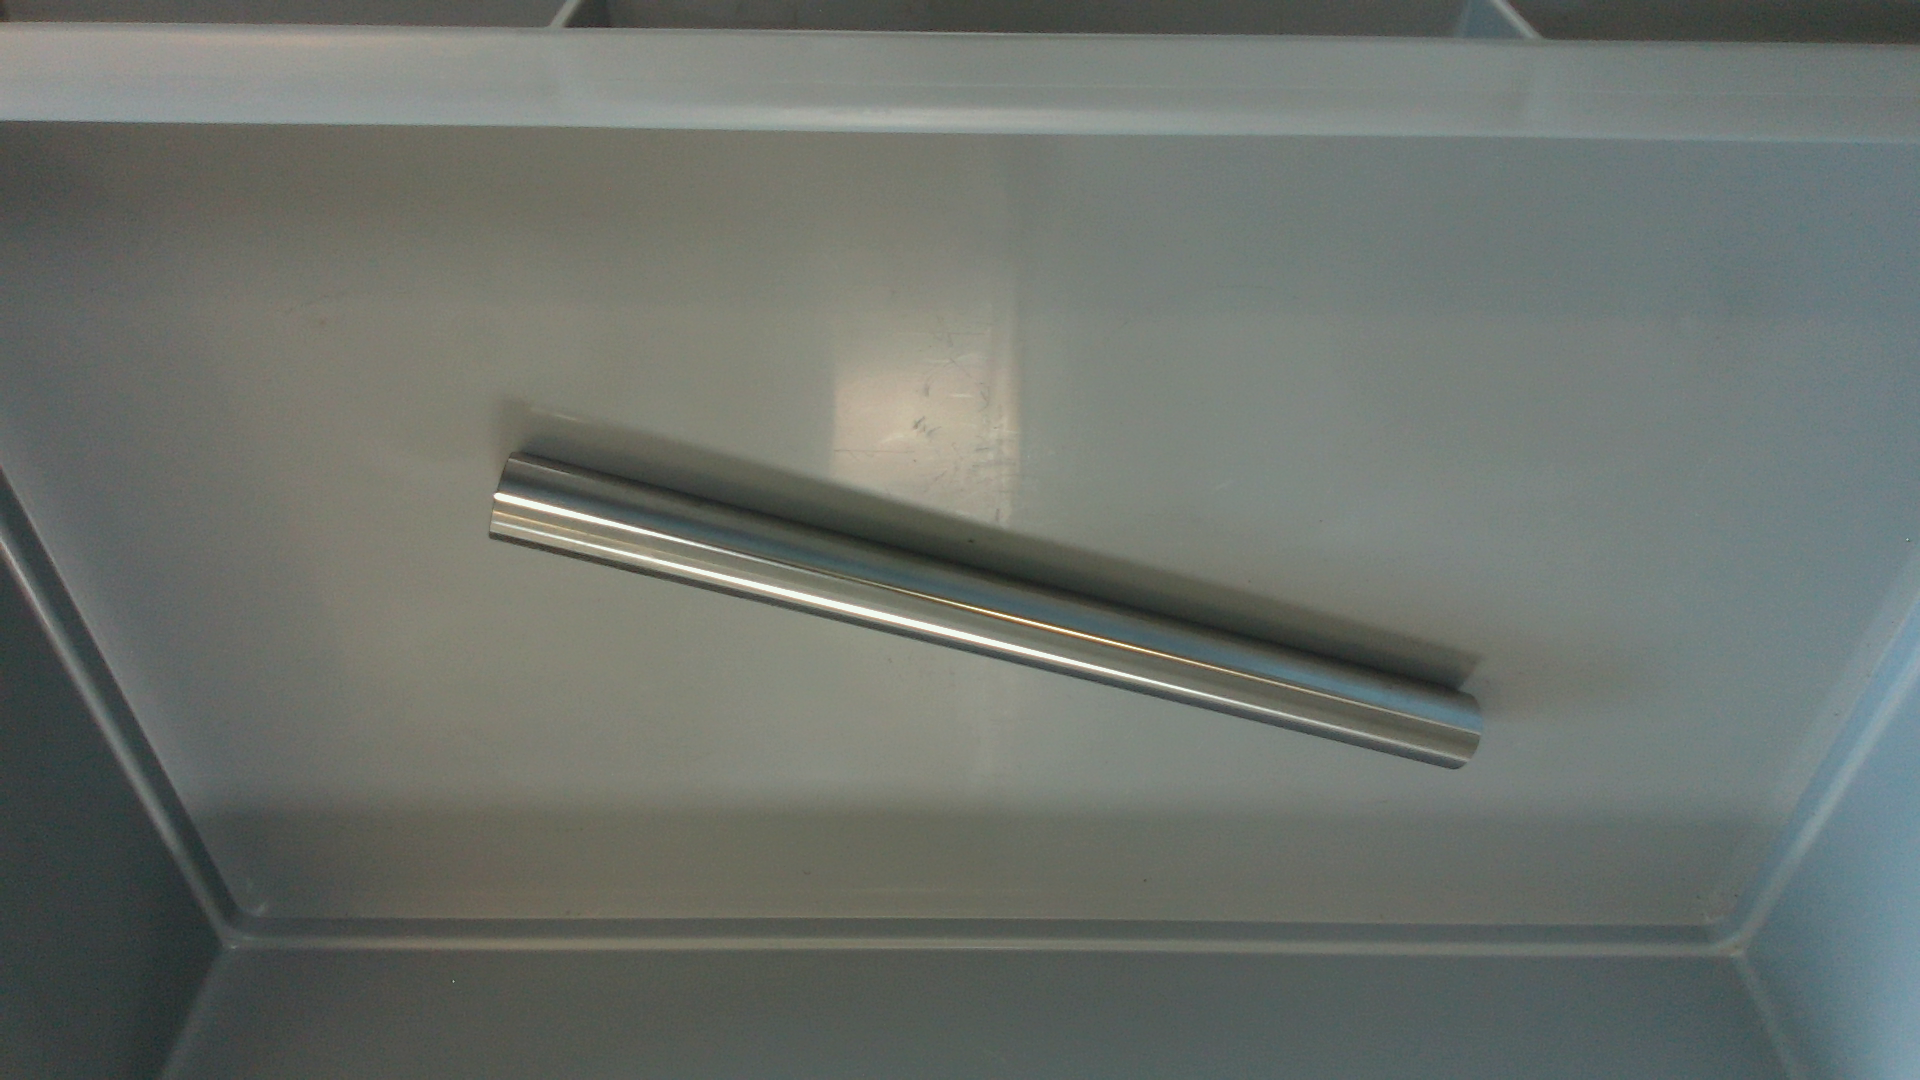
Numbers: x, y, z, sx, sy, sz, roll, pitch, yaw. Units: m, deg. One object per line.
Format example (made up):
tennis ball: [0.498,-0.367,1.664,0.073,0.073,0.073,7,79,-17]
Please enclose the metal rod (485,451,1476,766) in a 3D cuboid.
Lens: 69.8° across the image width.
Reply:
metal rod: [0.015,0.024,0.409,0.300,0.025,0.025,14,129,-12]
